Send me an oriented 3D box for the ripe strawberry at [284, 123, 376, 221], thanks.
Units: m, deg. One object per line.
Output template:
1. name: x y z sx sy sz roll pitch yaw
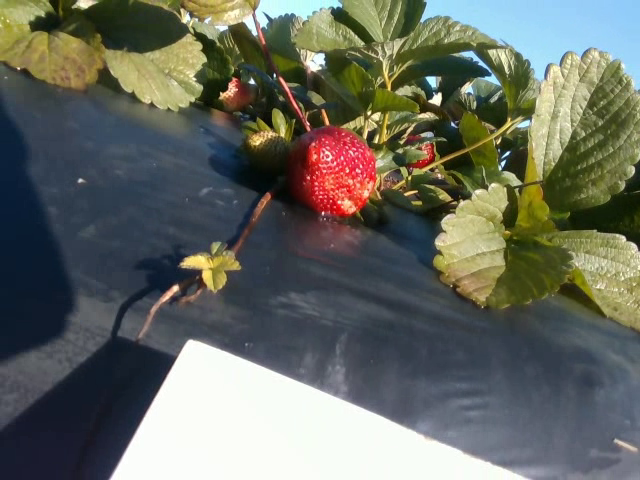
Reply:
1. ripe strawberry: 0.003 -0.027 0.237 0.041 0.043 0.053 32 0 7
